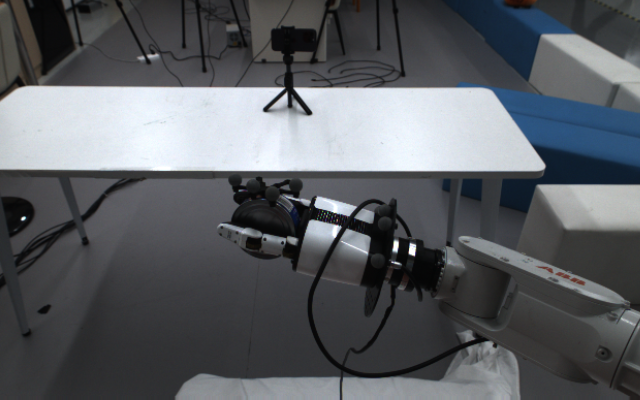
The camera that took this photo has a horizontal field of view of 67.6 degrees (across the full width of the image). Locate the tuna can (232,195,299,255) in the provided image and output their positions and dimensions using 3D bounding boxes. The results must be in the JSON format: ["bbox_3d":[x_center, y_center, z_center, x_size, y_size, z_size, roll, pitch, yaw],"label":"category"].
[{"bbox_3d":[-0.068,0.032,0.630,0.085,0.085,0.034,9,23,10],"label":"tuna can"}]
